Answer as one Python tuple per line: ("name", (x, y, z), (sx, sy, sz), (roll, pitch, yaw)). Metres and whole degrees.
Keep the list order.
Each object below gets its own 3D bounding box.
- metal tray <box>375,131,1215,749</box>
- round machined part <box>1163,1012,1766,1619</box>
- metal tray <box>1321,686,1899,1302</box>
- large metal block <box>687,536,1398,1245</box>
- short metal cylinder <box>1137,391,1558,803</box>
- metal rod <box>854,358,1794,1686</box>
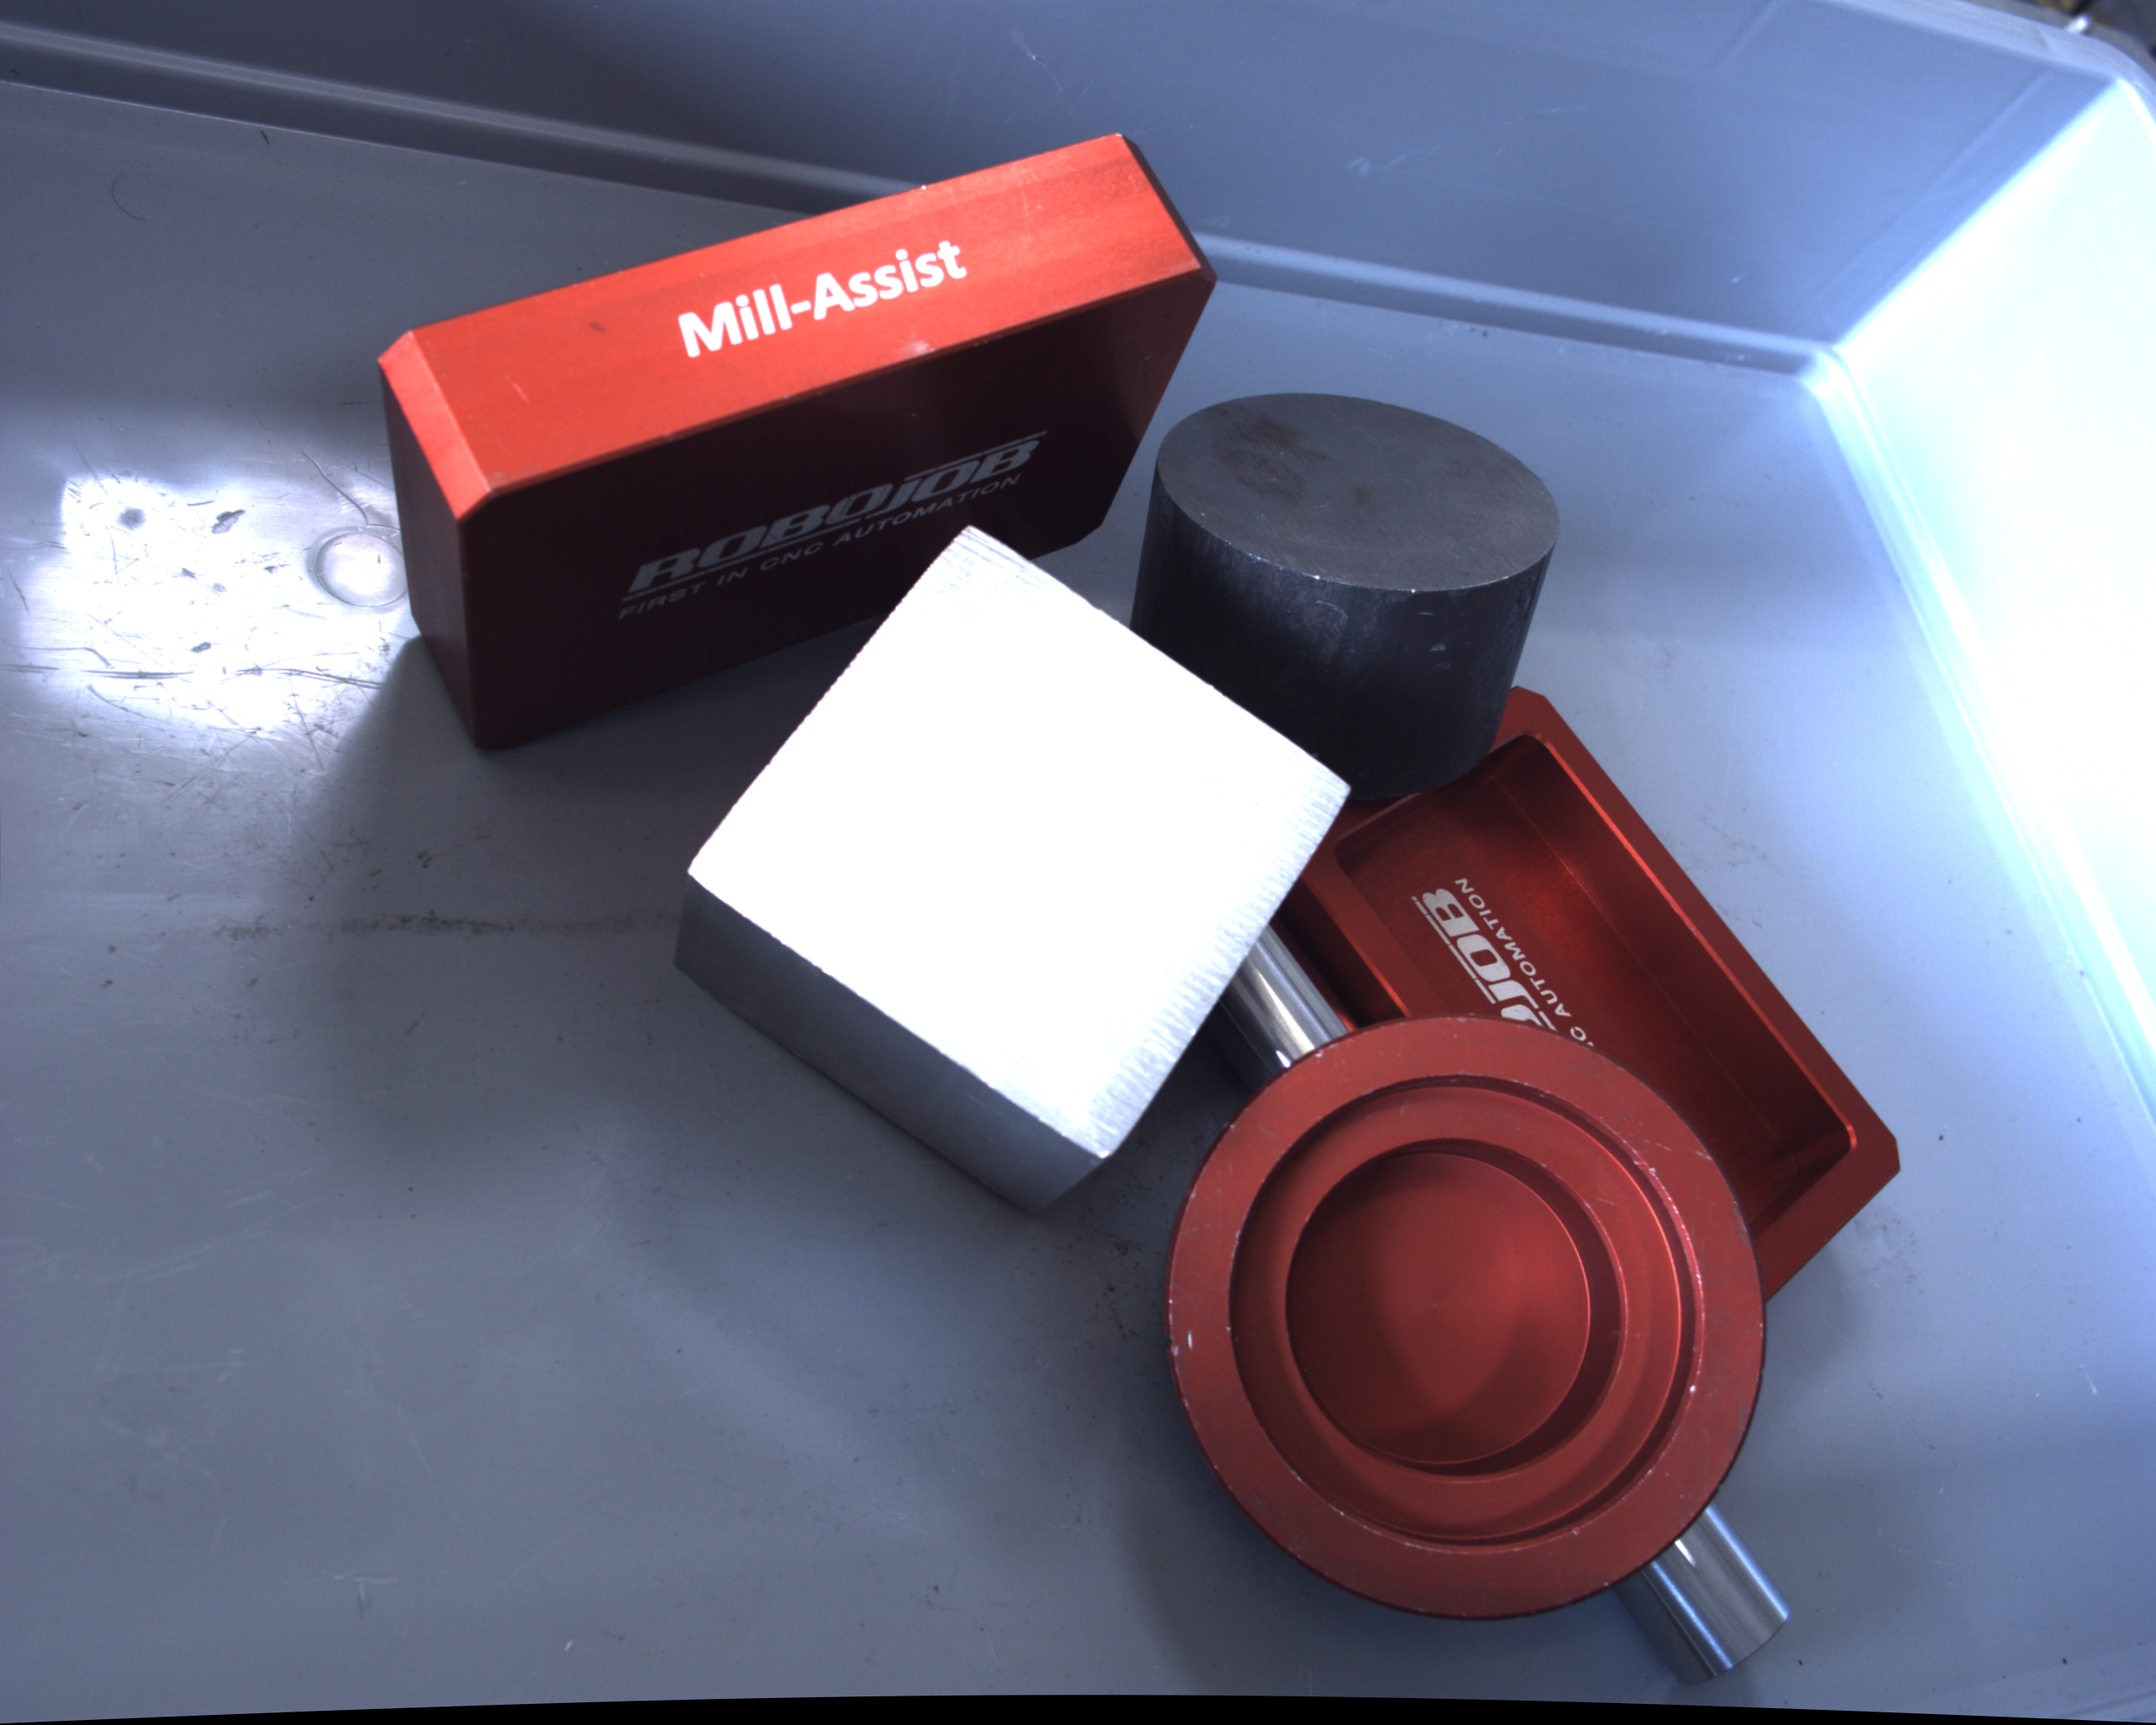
("metal tray", (-0.049, -0.071, 0.361), (0.131, 0.090, 0.030), (-23, 76, -21))
("round machined part", (0.064, 0.077, 0.362), (0.099, 0.042, 0.098), (0, 78, 1))
("metal tray", (0.100, 0.034, 0.433), (0.091, 0.030, 0.130), (-28, 77, -37))
("large metal block", (-0.008, 0.006, 0.356), (0.080, 0.050, 0.080), (41, 69, -1))
("short metal cylinder", (0.053, -0.056, 0.432), (0.081, 0.050, 0.080), (5, 39, -4))
("metal rod", (0.033, 0.023, 0.407), (0.025, 0.025, 0.299), (-28, 77, -37))
